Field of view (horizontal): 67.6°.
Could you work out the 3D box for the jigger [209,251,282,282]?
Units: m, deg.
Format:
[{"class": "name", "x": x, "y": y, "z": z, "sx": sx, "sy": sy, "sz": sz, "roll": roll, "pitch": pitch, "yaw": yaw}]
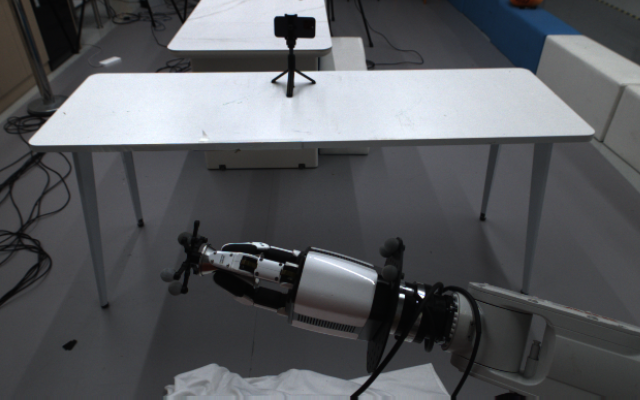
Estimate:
[{"class": "jigger", "x": -0.097, "y": 0.073, "z": 0.574, "sx": 0.071, "sy": 0.043, "sz": 0.043, "roll": 11, "pitch": 35, "yaw": 3}]
